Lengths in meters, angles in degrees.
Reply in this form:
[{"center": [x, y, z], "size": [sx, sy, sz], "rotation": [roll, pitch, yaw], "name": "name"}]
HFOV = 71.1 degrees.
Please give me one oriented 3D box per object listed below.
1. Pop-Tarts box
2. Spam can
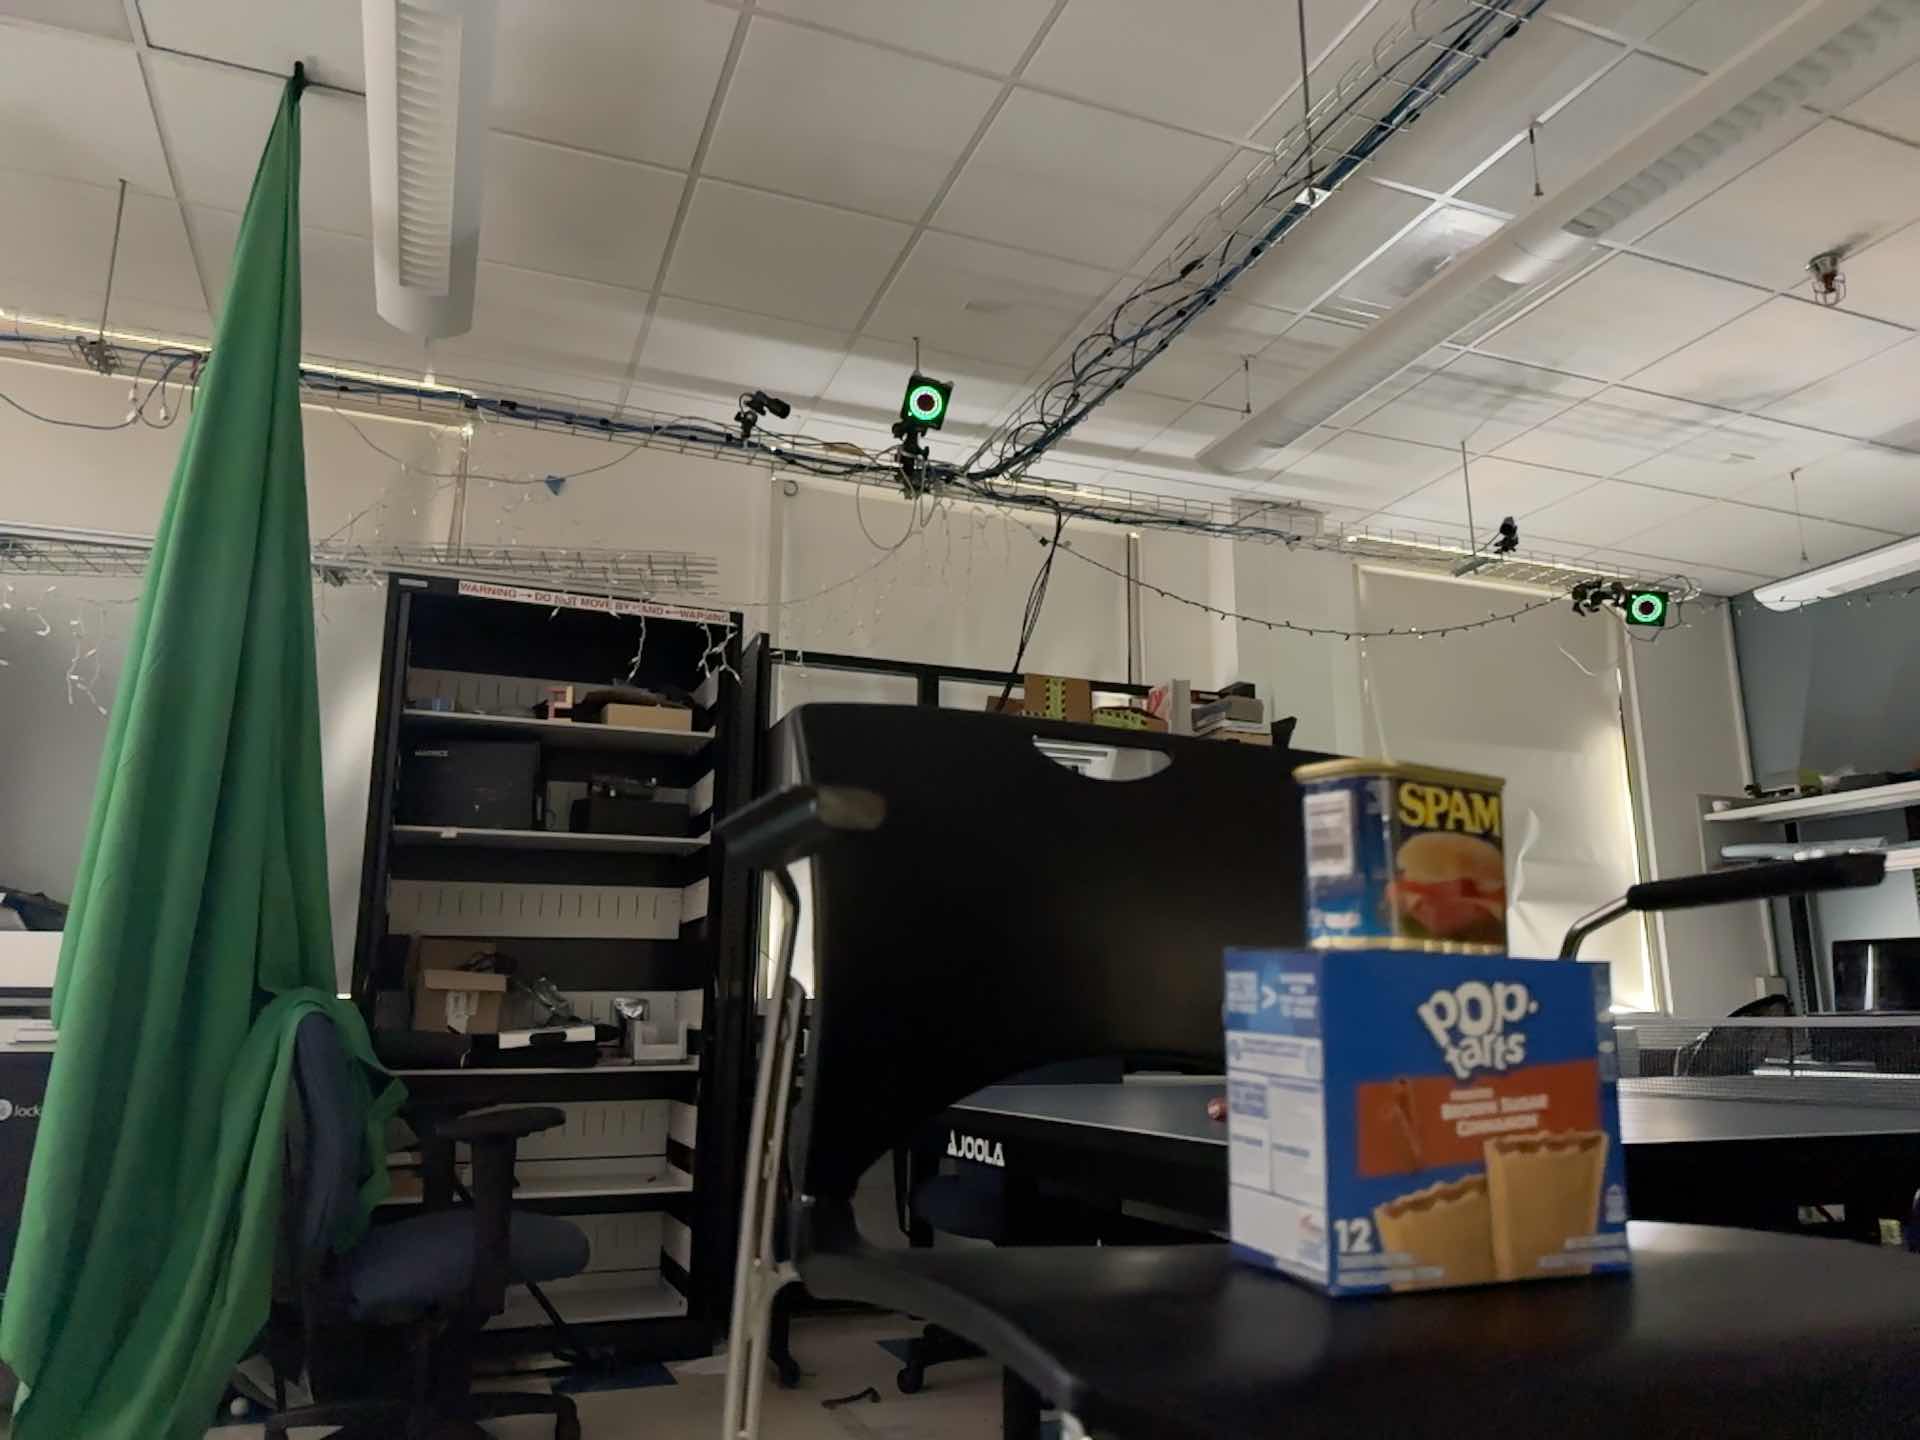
[{"center": [0.219, 0.183, 0.630], "size": [0.161, 0.135, 0.075], "rotation": [5, -10, -24], "name": "Pop-Tarts box"}, {"center": [0.214, 0.068, 0.639], "size": [0.100, 0.083, 0.056], "rotation": [7, -10, -27], "name": "Spam can"}]
